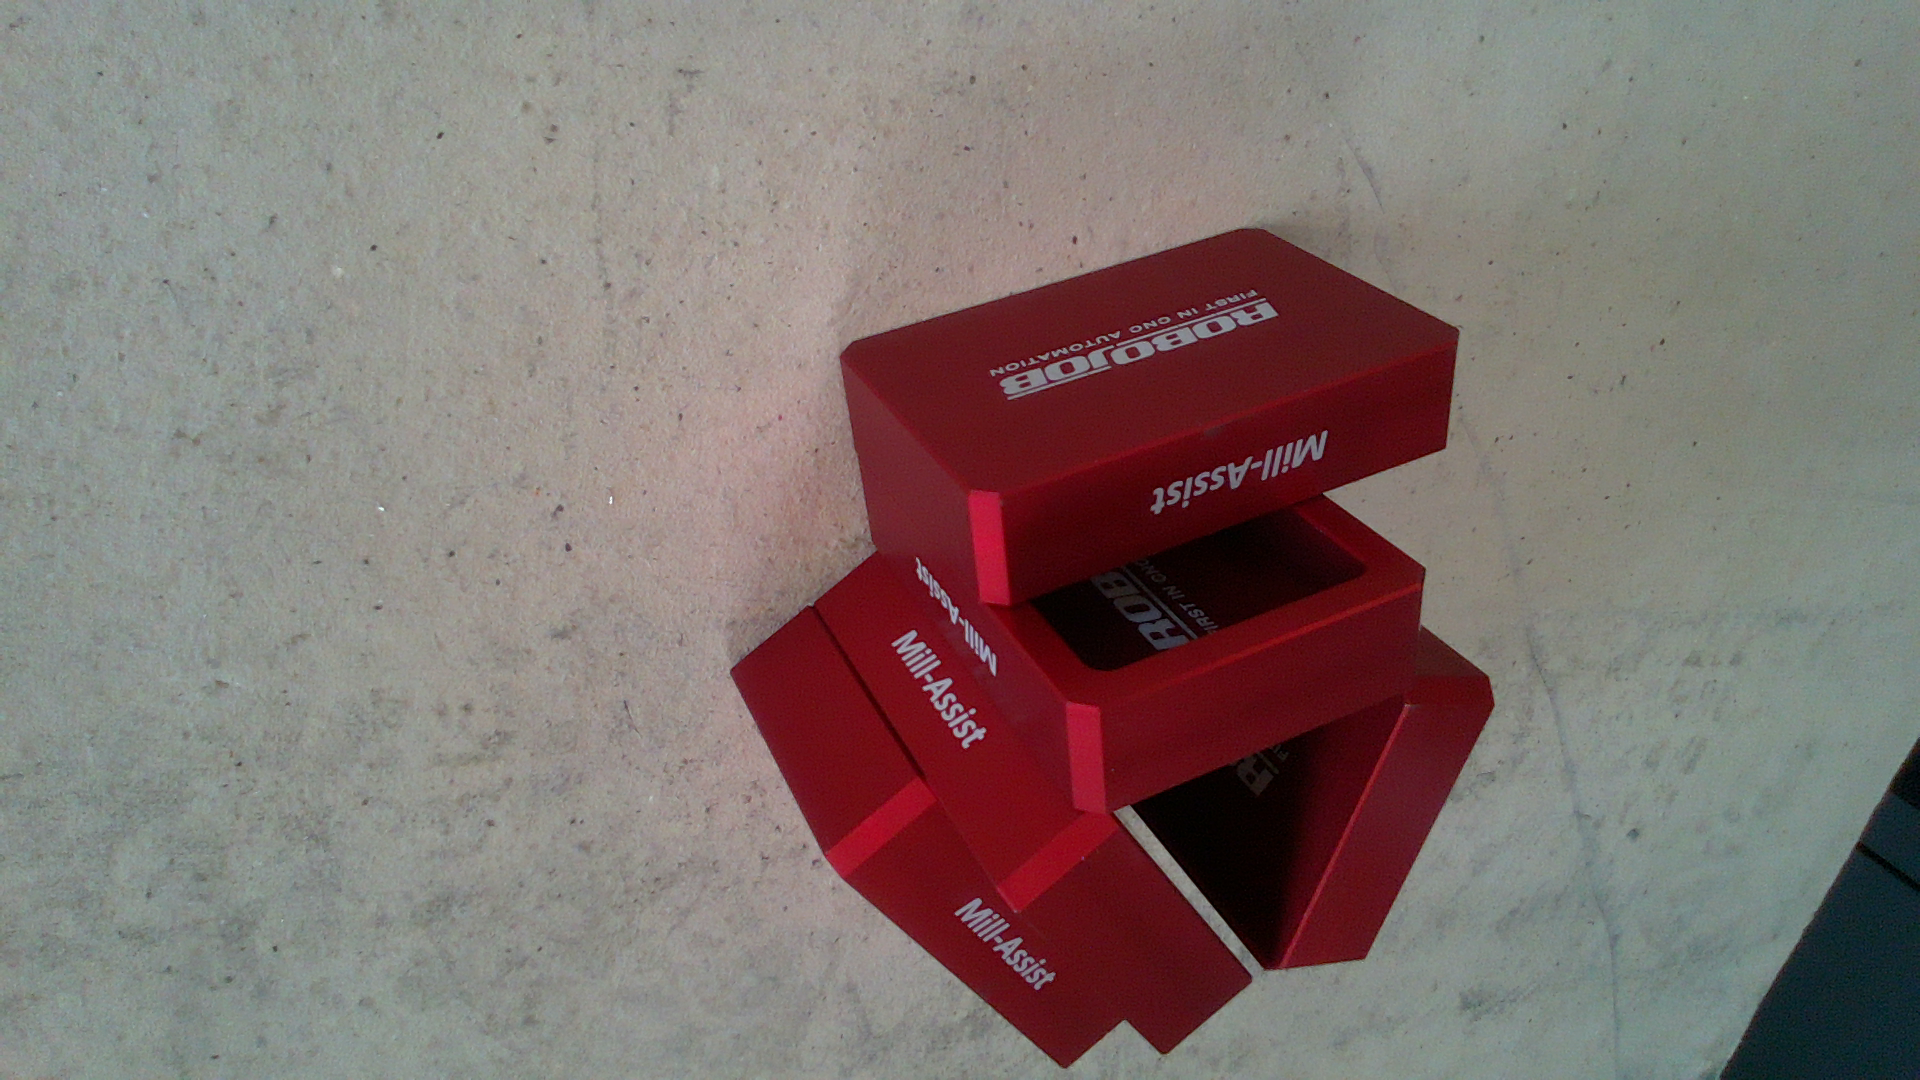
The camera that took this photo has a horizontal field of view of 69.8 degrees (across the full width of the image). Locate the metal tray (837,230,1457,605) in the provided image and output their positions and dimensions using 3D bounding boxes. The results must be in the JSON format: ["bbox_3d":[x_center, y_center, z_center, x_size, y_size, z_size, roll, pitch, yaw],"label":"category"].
[{"bbox_3d":[0.045,-0.037,0.349,0.130,0.090,0.030,-19,126,-18],"label":"metal tray"}]

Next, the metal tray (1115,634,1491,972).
[{"bbox_3d":[0.078,0.044,0.390,0.030,0.130,0.090,5,116,-30],"label":"metal tray"}]

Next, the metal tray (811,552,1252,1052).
[{"bbox_3d":[0.016,0.064,0.370,0.030,0.130,0.090,-40,129,-1],"label":"metal tray"}]

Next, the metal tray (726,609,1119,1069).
[{"bbox_3d":[-0.007,0.087,0.396,0.030,0.090,0.130,-39,129,-1],"label":"metal tray"}]

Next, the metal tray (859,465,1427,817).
[{"bbox_3d":[0.039,0.003,0.344,0.090,0.130,0.030,-19,126,-17],"label":"metal tray"}]
